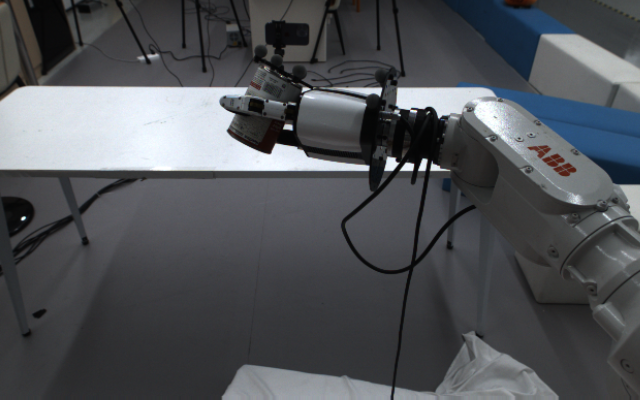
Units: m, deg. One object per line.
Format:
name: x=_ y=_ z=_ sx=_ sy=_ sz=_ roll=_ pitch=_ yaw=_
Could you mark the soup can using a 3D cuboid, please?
soup can: x=-0.076 y=-0.123 z=0.659 sx=0.067 sy=0.101 sz=0.067 roll=27 pitch=10 yaw=-5
